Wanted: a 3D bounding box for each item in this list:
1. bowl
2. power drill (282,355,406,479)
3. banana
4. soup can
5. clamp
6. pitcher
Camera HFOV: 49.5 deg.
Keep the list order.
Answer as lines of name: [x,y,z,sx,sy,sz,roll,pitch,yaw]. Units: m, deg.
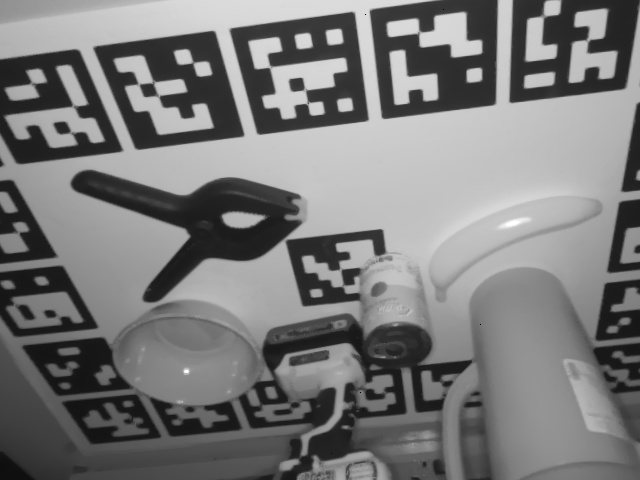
bowl: [-0.121,0.127,0.761,0.162,0.055,0.160,-1,127,-1]
power drill: [-0.005,0.214,0.726,0.184,0.188,0.057,-9,128,7]
banana: [0.218,0.018,0.700,0.195,0.039,0.074,-25,133,19]
soup can: [0.100,0.089,0.710,0.068,0.103,0.067,-2,137,-1]
clamp: [-0.080,-0.003,0.664,0.202,0.037,0.164,-8,124,4]
pitcher: [0.228,0.170,0.687,0.187,0.244,0.133,-25,128,18]
